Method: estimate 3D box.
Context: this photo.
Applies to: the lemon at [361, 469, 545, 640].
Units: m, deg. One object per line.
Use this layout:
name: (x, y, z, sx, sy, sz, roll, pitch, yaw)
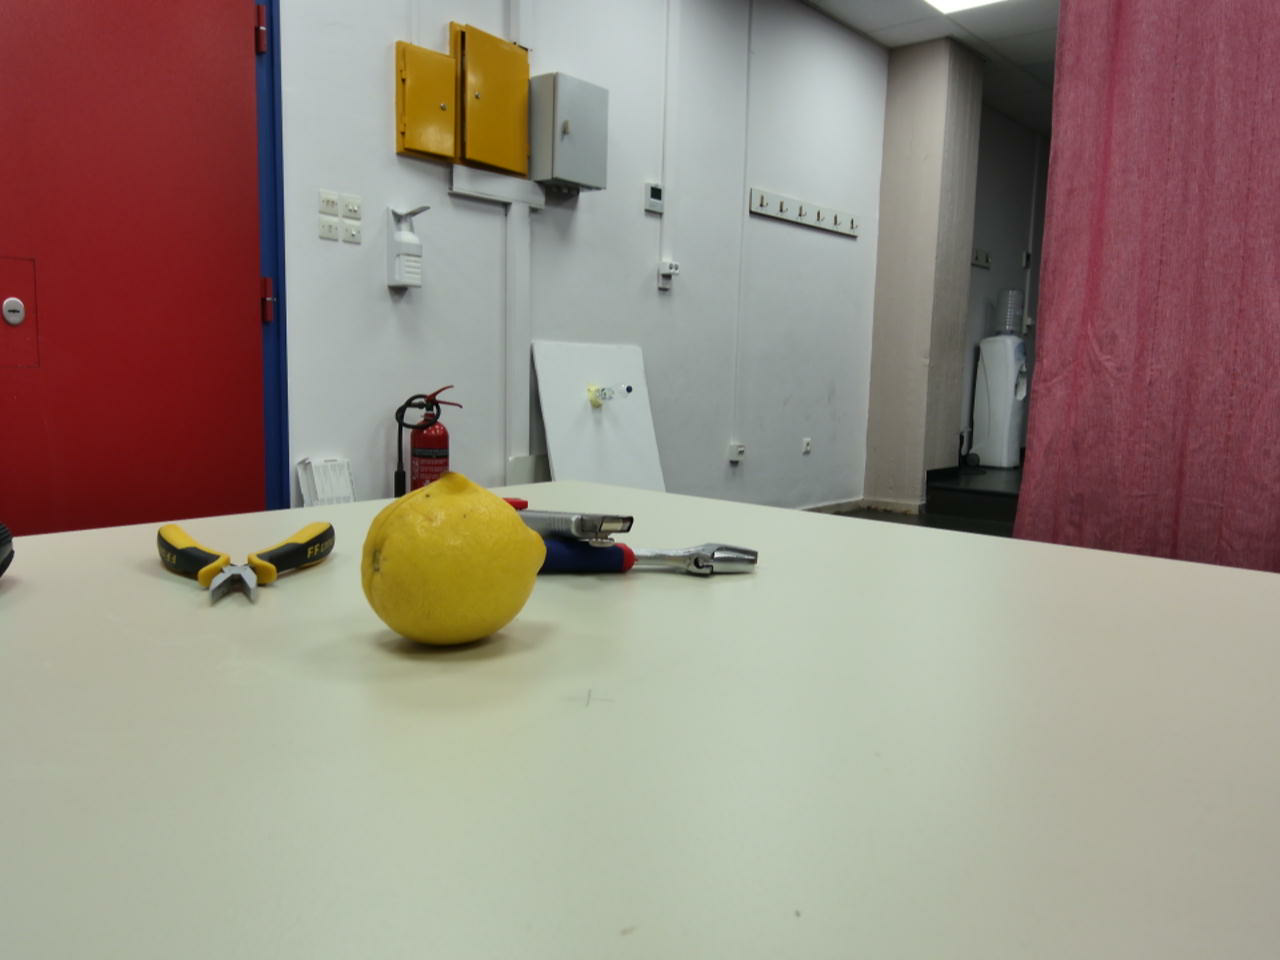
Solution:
lemon: (-0.080, 0.030, 0.418, 0.071, 0.071, 0.070, 1, 4, 6)
